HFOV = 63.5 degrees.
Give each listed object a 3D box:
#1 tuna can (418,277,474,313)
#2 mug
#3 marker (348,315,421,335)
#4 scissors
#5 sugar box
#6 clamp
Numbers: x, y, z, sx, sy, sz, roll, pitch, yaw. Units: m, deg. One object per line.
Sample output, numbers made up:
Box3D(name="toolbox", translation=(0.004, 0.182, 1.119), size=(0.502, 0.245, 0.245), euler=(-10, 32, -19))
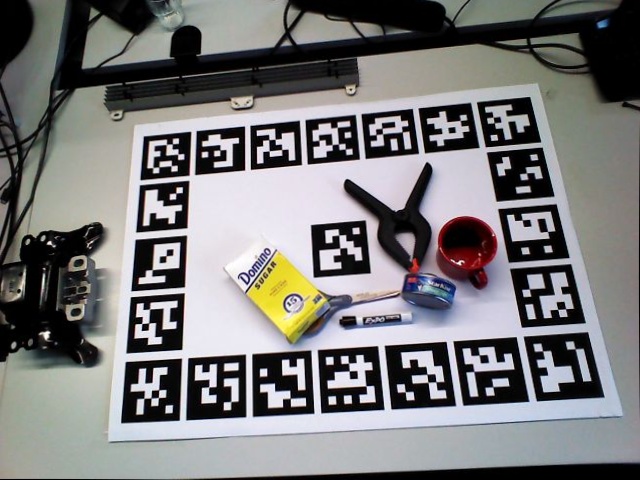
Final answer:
Box3D(name="tuna can", translation=(0.202, 0.089, 0.835), size=(0.086, 0.086, 0.033), euler=(11, 71, 11))
Box3D(name="mug", translation=(0.259, 0.036, 0.852), size=(0.093, 0.081, 0.117), euler=(-31, 66, -5))
Box3D(name="marker", translation=(0.106, 0.142, 0.863), size=(0.121, 0.020, 0.019), euler=(-9, 70, 5))
Box3D(name="scissors", translation=(0.059, 0.106, 0.880), size=(0.203, 0.016, 0.087), euler=(-15, 65, 0))
Box3D(name="sugar box", translation=(-0.051, 0.089, 0.884), size=(0.093, 0.045, 0.176), euler=(-40, 64, -8))
Box3D(name="clamp", translation=(0.168, -0.030, 0.920), size=(0.166, 0.037, 0.202), euler=(-15, 70, 1))
